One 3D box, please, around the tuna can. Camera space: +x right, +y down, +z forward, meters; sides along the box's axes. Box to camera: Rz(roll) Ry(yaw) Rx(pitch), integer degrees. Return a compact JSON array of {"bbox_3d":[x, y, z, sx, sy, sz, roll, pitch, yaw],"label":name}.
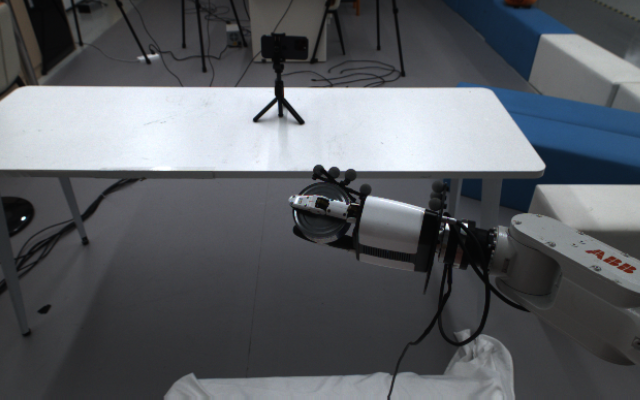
[{"bbox_3d":[0.006,0.018,0.709,0.085,0.034,0.085,-4,67,10],"label":"tuna can"}]
